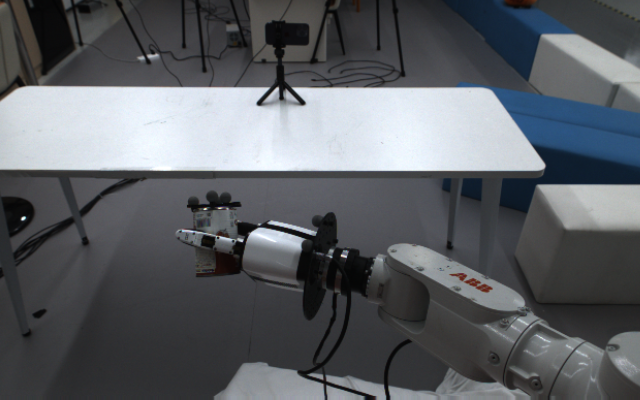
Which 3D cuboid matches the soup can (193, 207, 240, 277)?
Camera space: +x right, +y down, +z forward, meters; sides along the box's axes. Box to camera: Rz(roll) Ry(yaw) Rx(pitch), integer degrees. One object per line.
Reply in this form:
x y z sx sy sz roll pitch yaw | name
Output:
-0.157 0.066 0.738 0.067 0.101 0.067 -5 -5 0 | soup can
